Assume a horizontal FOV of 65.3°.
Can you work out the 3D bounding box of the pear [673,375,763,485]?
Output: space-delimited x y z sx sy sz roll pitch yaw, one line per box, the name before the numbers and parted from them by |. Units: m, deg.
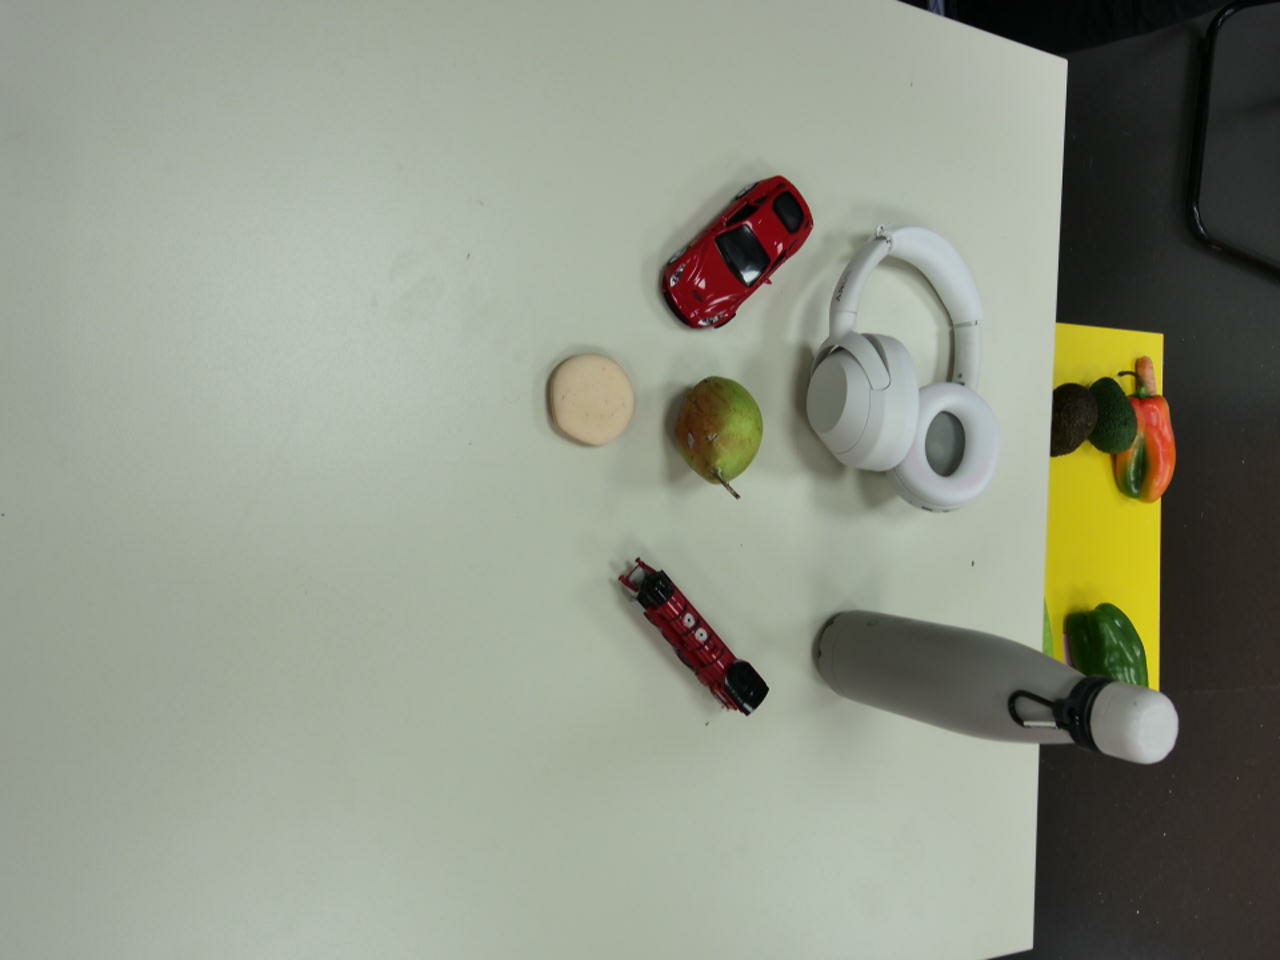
pear | 0.057 -0.038 0.728 0.070 0.069 0.068 -37 108 -22
